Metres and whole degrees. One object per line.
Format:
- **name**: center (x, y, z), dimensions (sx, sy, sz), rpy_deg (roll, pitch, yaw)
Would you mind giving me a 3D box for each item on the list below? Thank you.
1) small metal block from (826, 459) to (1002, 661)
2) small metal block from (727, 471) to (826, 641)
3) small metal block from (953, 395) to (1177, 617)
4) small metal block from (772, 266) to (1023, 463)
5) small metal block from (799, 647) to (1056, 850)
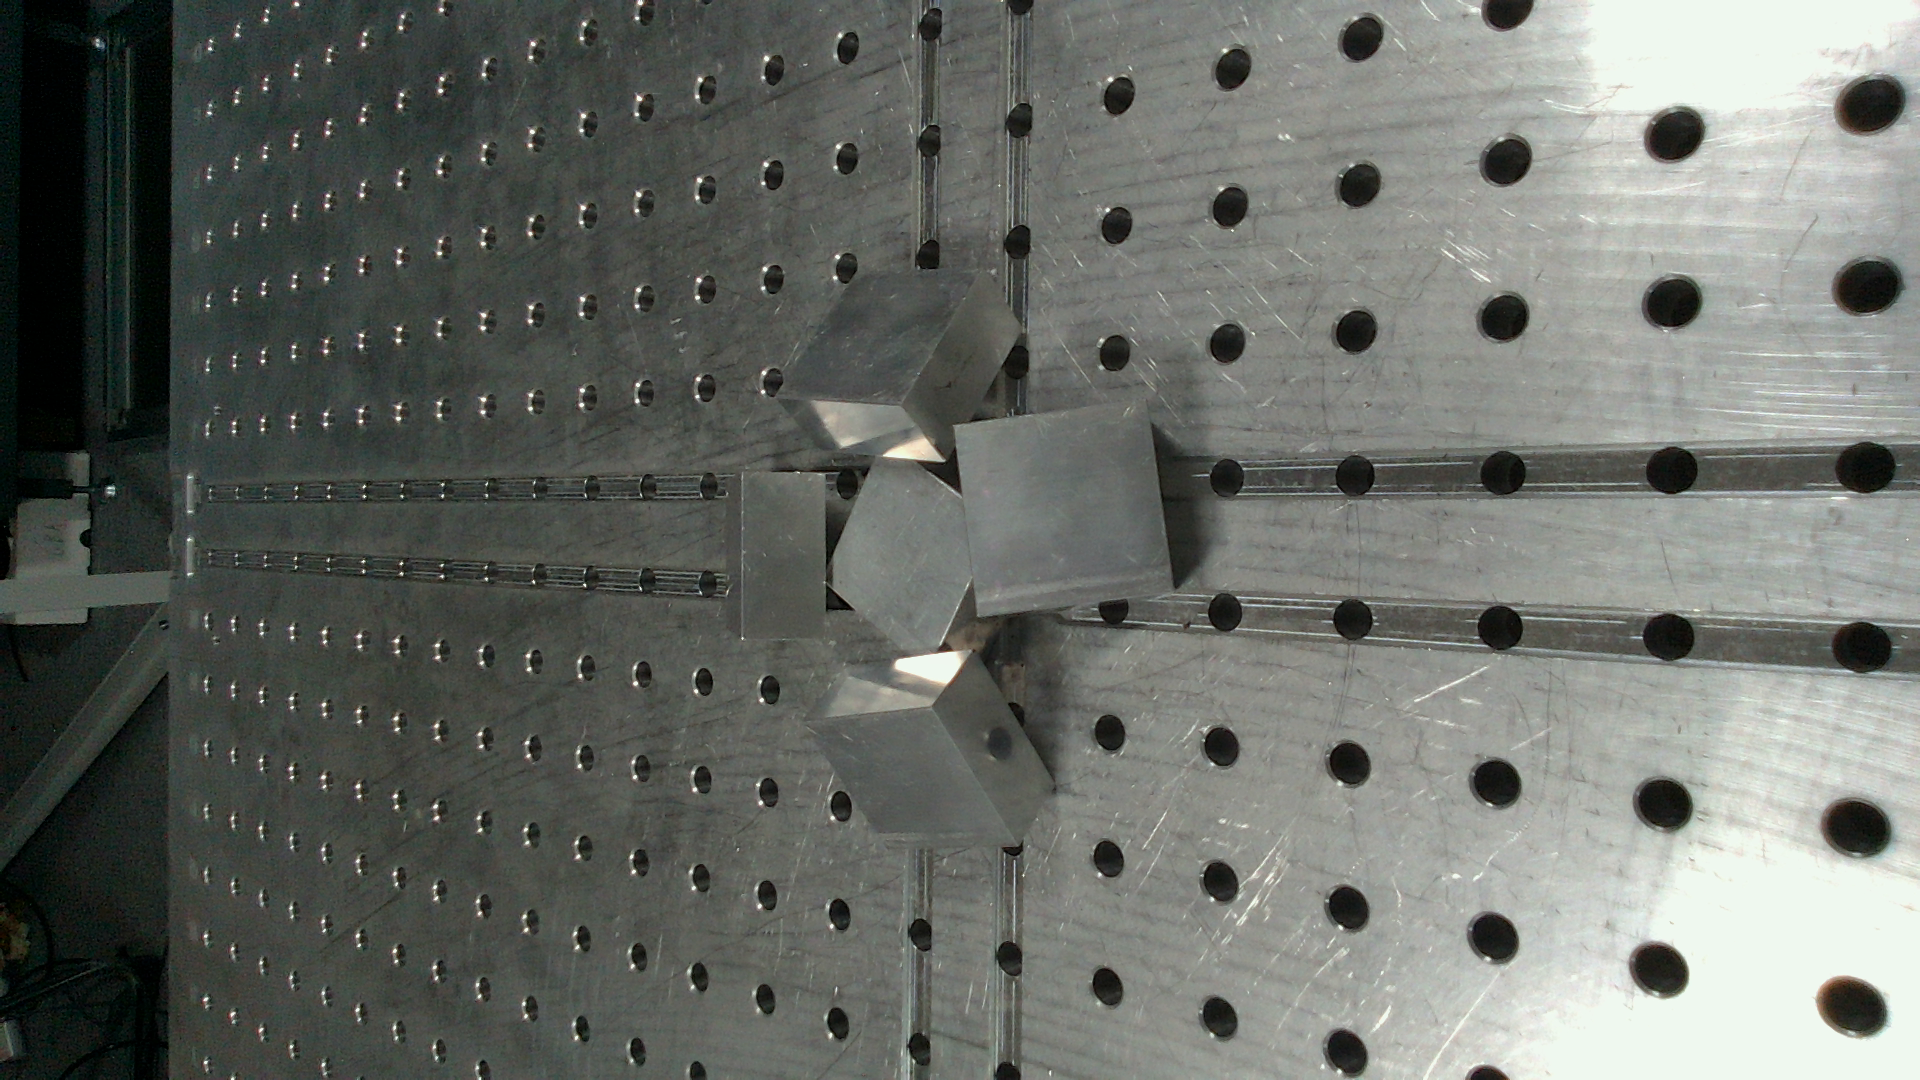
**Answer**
- **small metal block**: center (-0.008, 0.004, 0.404), dimensions (0.050, 0.025, 0.050), rpy_deg (38, 114, 33)
- **small metal block**: center (-0.059, 0.005, 0.432), dimensions (0.050, 0.025, 0.050), rpy_deg (179, 91, -75)
- **small metal block**: center (0.027, -0.007, 0.359), dimensions (0.050, 0.025, 0.050), rpy_deg (-8, 84, 5)
- **small metal block**: center (-0.018, -0.051, 0.396), dimensions (0.050, 0.025, 0.050), rpy_deg (8, 59, 40)
- **small metal block**: center (-0.009, 0.060, 0.389), dimensions (0.050, 0.025, 0.050), rpy_deg (-12, 118, 40)
